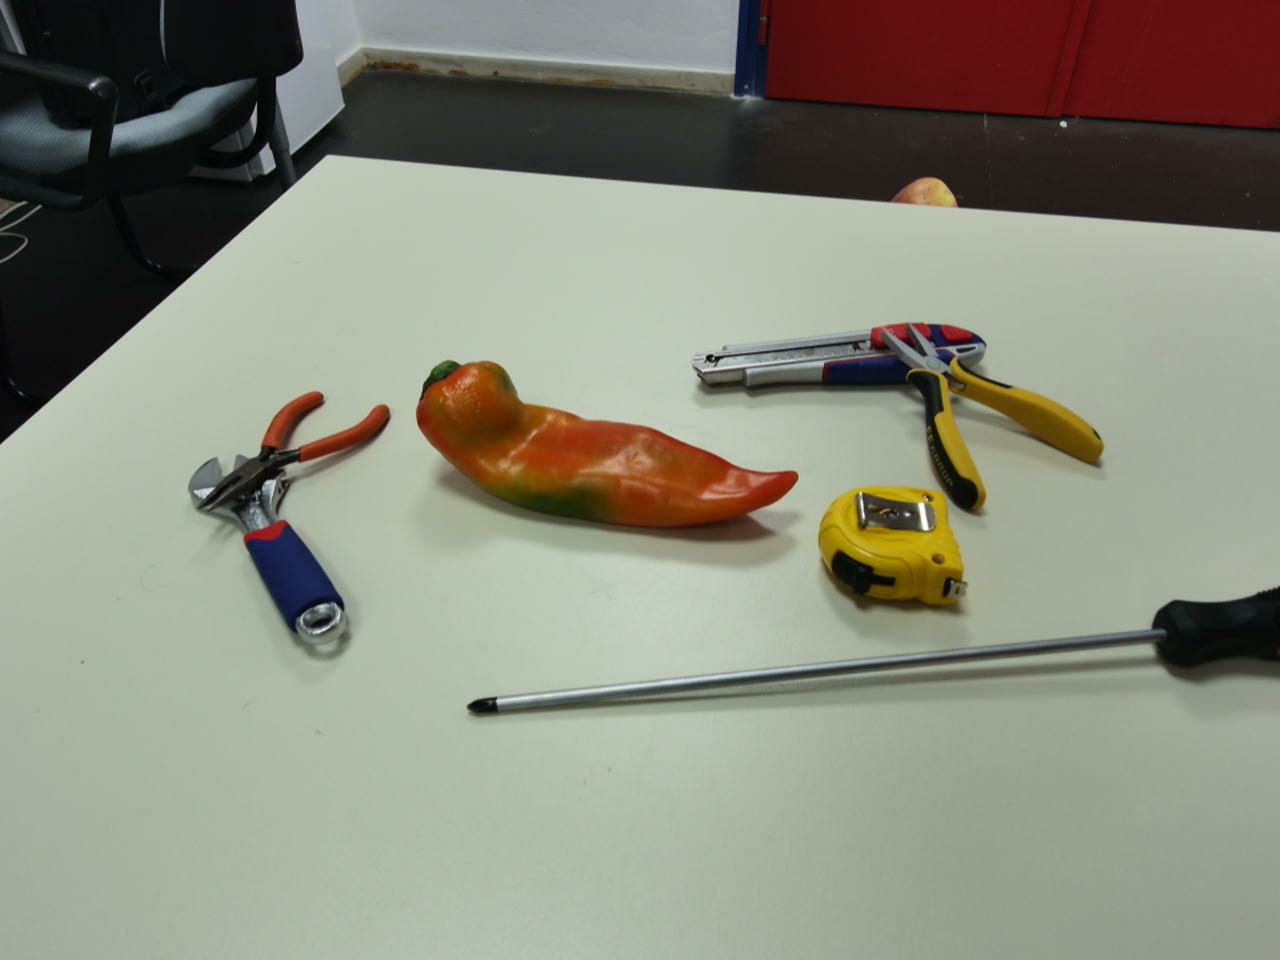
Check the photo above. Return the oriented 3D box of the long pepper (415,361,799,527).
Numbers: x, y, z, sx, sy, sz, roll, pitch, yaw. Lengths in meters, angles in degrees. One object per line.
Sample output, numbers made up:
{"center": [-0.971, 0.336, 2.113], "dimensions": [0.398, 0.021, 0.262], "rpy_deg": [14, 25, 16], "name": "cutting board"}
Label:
{"center": [-0.020, -0.019, 0.510], "dimensions": [0.199, 0.065, 0.066], "rpy_deg": [12, 40, 14], "name": "long pepper"}
